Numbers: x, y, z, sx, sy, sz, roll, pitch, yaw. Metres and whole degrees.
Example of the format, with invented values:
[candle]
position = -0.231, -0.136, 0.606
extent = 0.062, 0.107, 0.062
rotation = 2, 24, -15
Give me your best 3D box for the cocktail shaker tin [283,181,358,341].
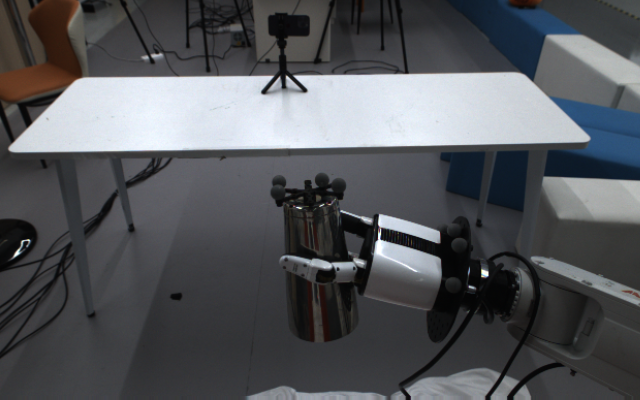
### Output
[cocktail shaker tin]
position = -0.003, 0.078, 0.602
extent = 0.093, 0.170, 0.093
rotation = -6, 19, 2
